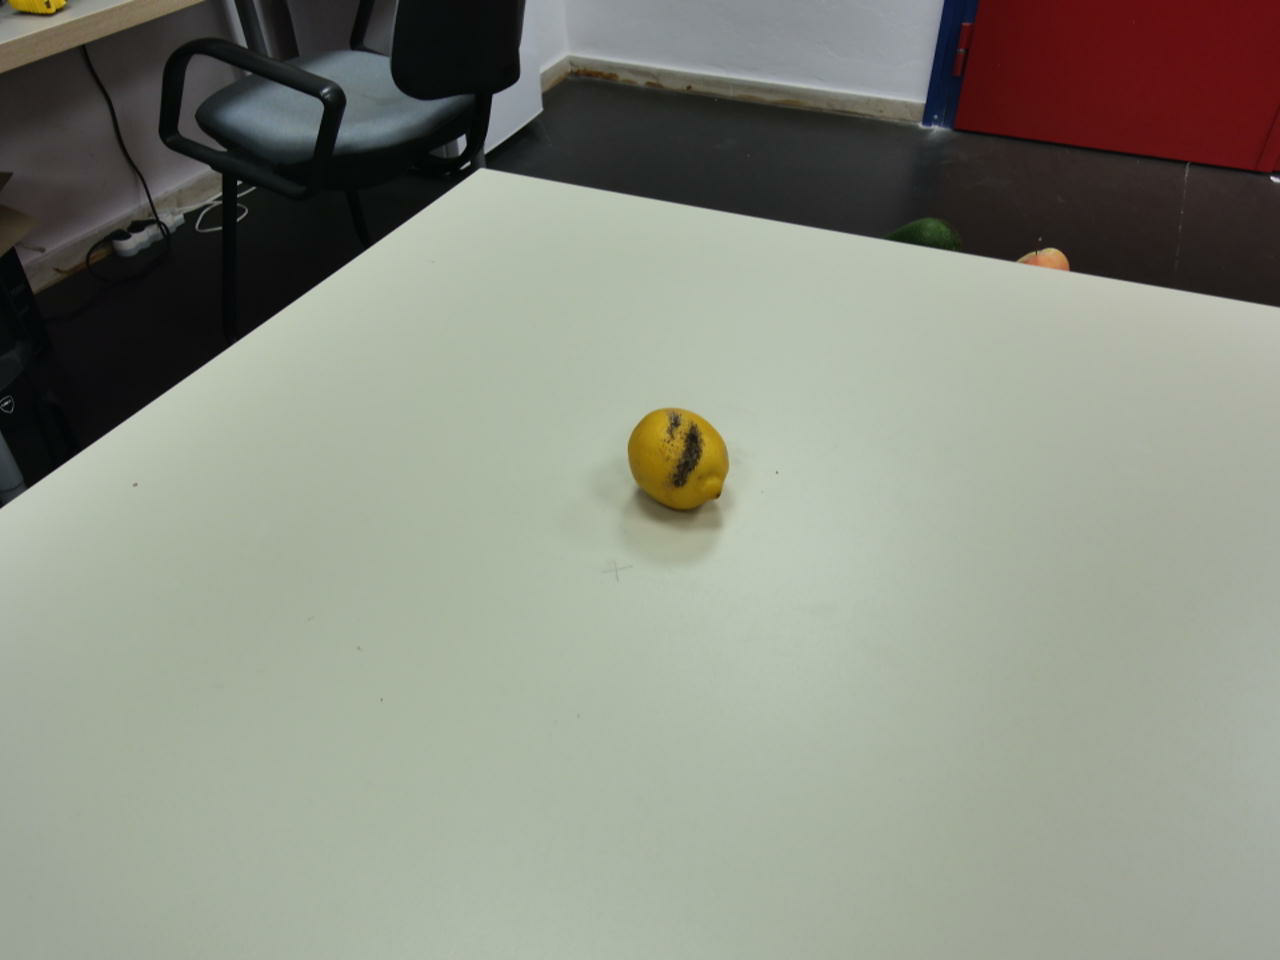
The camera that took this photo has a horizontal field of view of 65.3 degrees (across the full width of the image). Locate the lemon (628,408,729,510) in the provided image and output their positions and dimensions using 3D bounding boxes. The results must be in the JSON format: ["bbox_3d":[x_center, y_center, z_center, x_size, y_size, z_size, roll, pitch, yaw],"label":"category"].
[{"bbox_3d":[0.023,-0.013,0.593,0.061,0.056,0.058,10,40,13],"label":"lemon"}]
